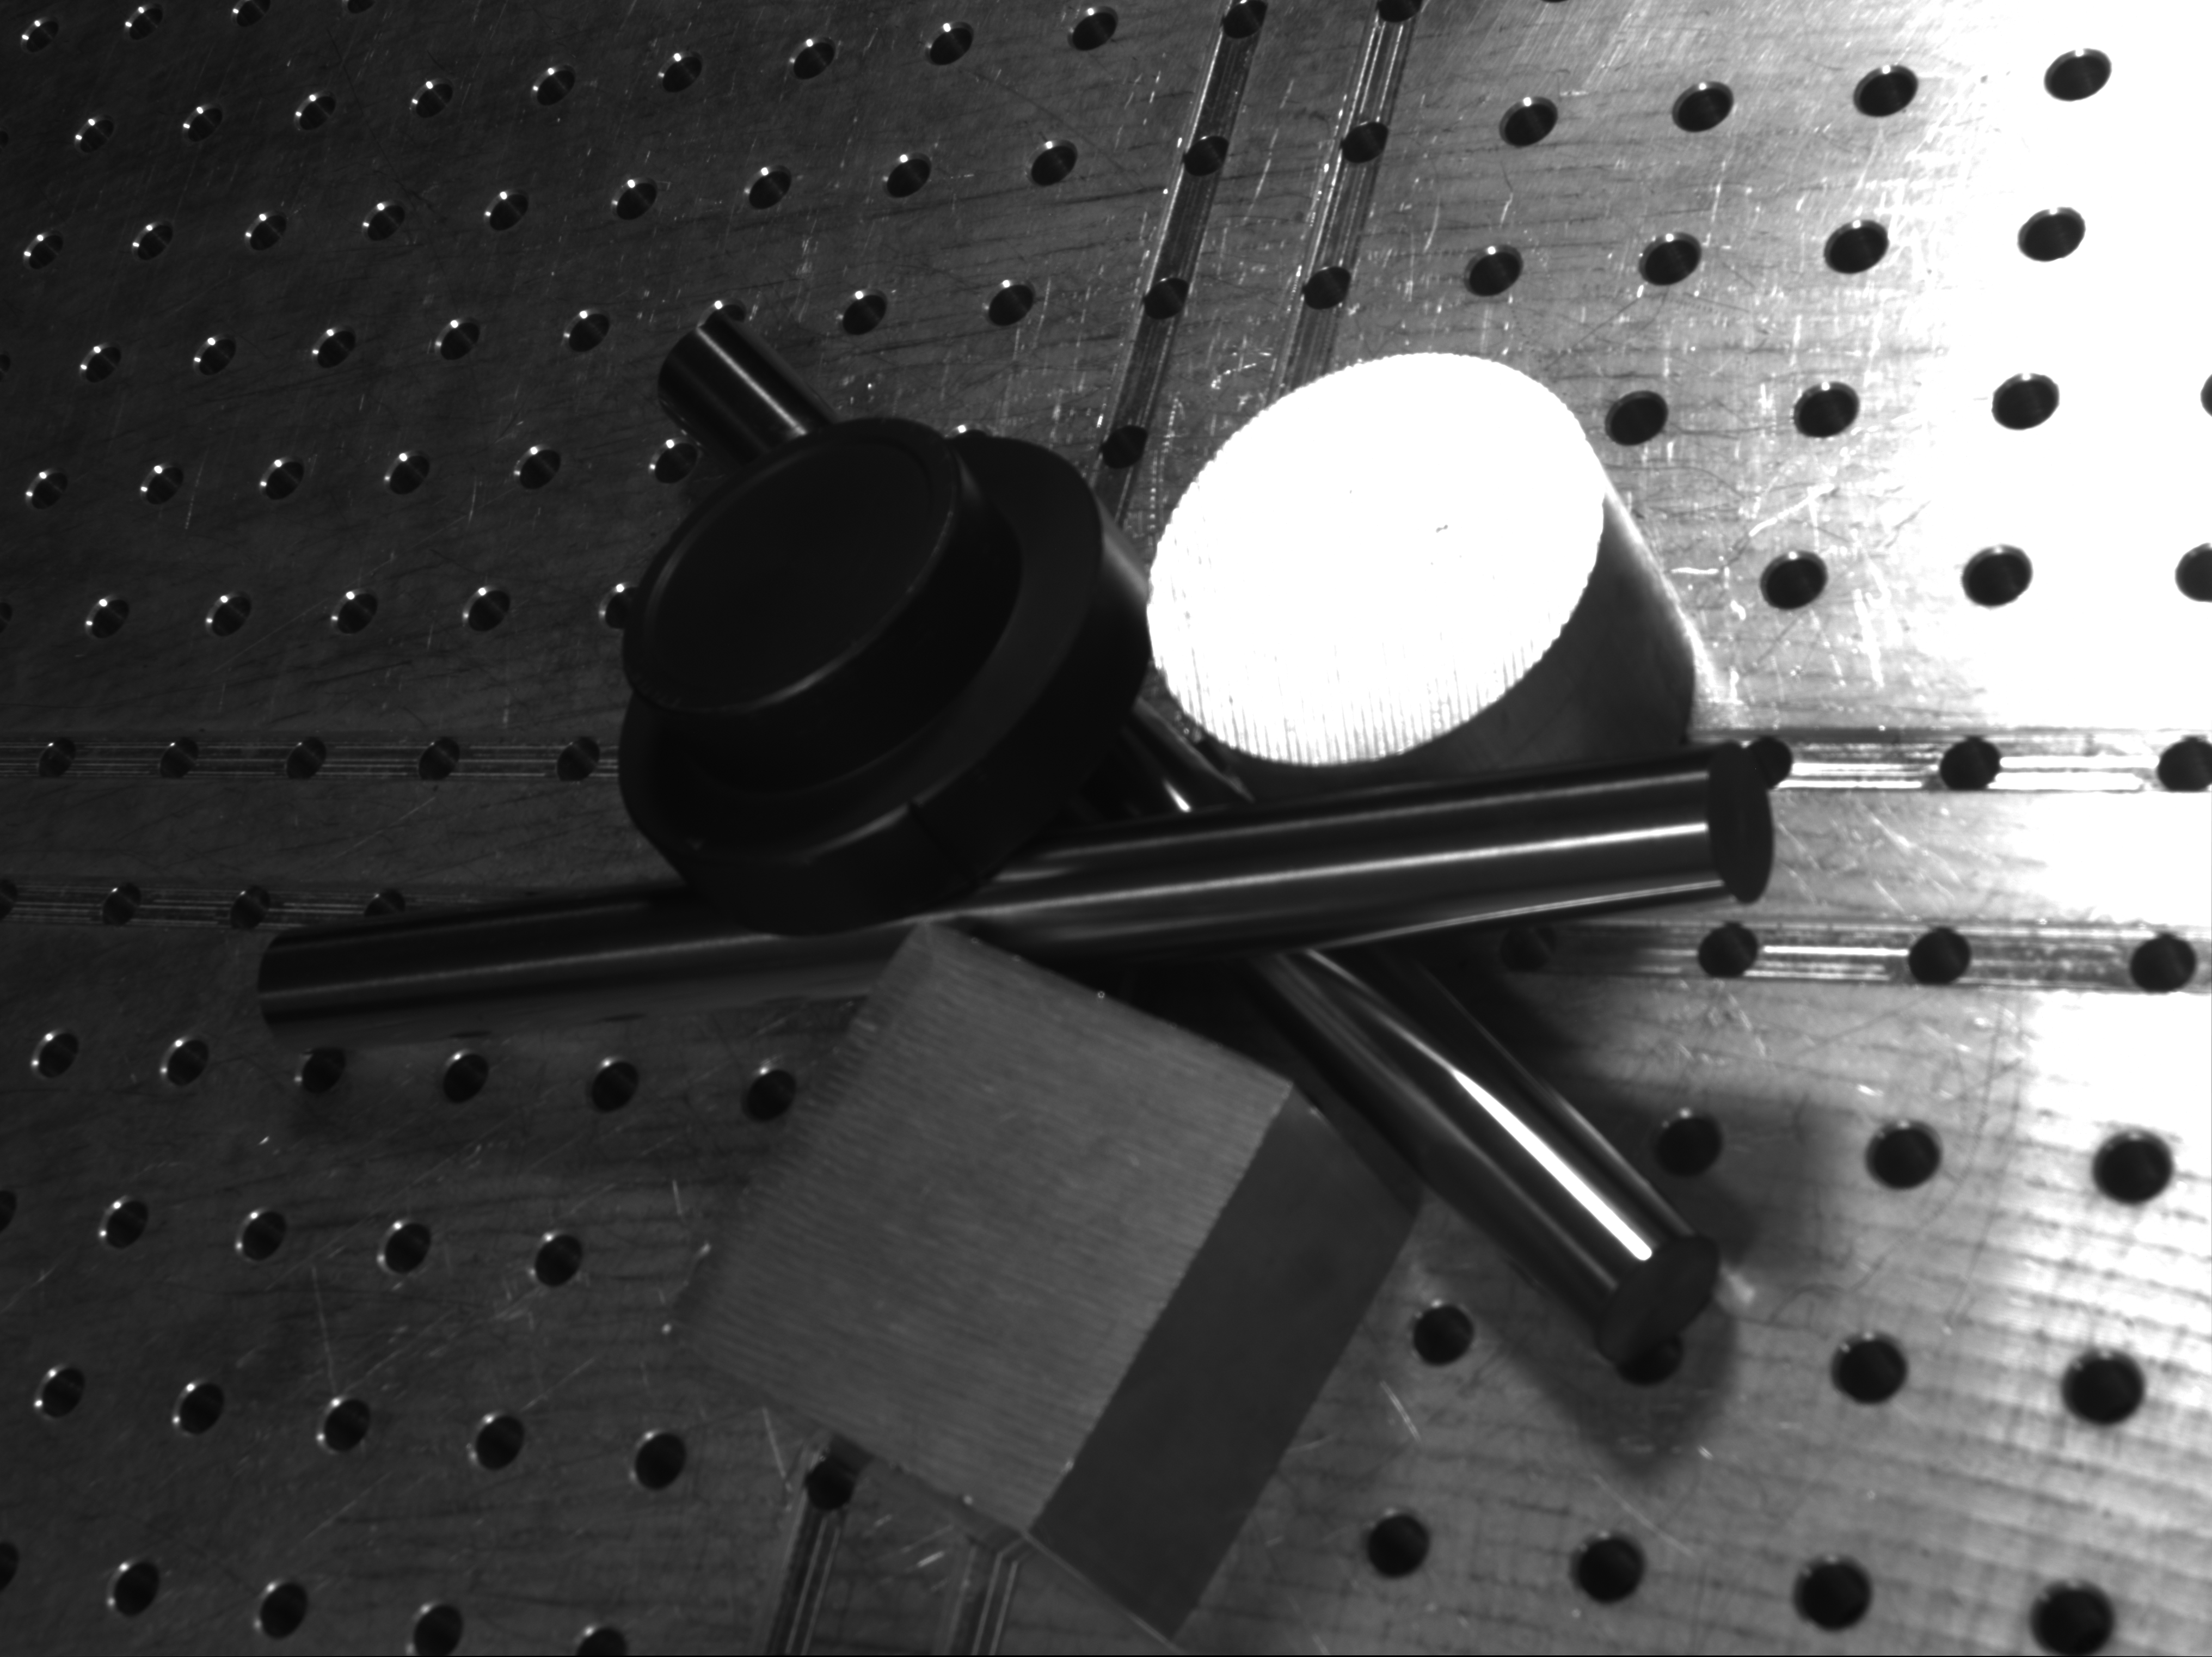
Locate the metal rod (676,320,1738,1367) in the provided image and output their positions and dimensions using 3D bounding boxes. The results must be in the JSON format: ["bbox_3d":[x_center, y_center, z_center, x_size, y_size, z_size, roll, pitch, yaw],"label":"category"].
[{"bbox_3d":[0.005,-0.010,0.651,0.025,0.025,0.299,-43,51,-2],"label":"metal rod"}]

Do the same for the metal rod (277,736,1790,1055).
[{"bbox_3d":[-0.027,0.015,0.629,0.299,0.025,0.025,-8,58,33],"label":"metal rod"}]

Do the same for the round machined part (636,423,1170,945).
[{"bbox_3d":[-0.041,-0.031,0.634,0.098,0.042,0.098,-20,44,20],"label":"round machined part"}]

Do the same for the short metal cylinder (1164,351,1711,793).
[{"bbox_3d":[0.056,-0.033,0.620,0.080,0.050,0.080,-13,56,21],"label":"short metal cylinder"}]

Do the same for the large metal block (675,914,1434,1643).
[{"bbox_3d":[-0.008,0.071,0.589,0.080,0.050,0.080,22,73,36],"label":"large metal block"}]
